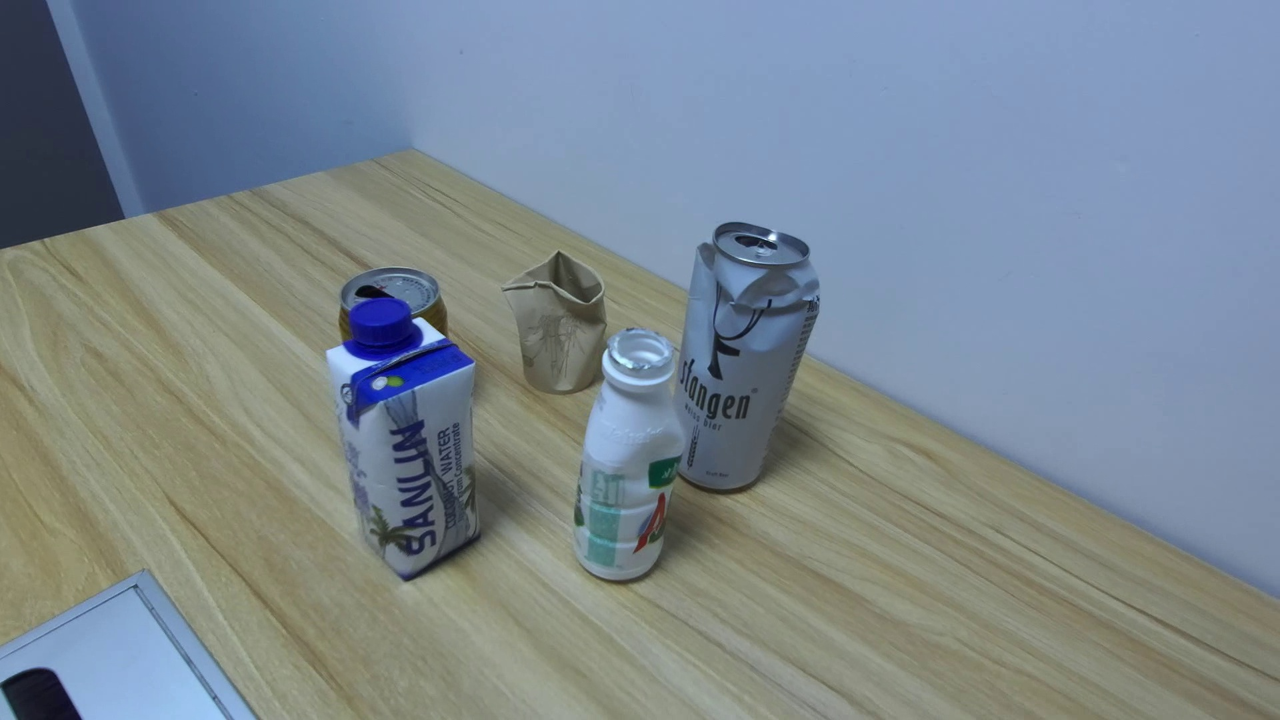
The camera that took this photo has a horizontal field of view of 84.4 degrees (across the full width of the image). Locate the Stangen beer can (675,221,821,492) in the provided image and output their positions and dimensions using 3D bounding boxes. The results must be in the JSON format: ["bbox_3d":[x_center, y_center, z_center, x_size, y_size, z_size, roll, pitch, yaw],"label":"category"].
[{"bbox_3d":[0.058,0.003,0.427,0.066,0.166,0.065,-3,37,-15],"label":"Stangen beer can"}]

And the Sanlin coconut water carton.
[{"bbox_3d":[-0.118,0.042,0.366,0.060,0.144,0.061,34,44,30],"label":"Sanlin coconut water carton"}]

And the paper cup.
[{"bbox_3d":[-0.061,-0.022,0.510,0.058,0.083,0.066,-26,46,-31],"label":"paper cup"}]

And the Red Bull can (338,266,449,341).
[{"bbox_3d":[-0.159,-0.007,0.467,0.067,0.093,0.067,4,39,-3],"label":"Red Bull can"}]

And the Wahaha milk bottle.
[{"bbox_3d":[-0.005,0.053,0.364,0.056,0.149,0.055,5,38,-4],"label":"Wahaha milk bottle"}]
